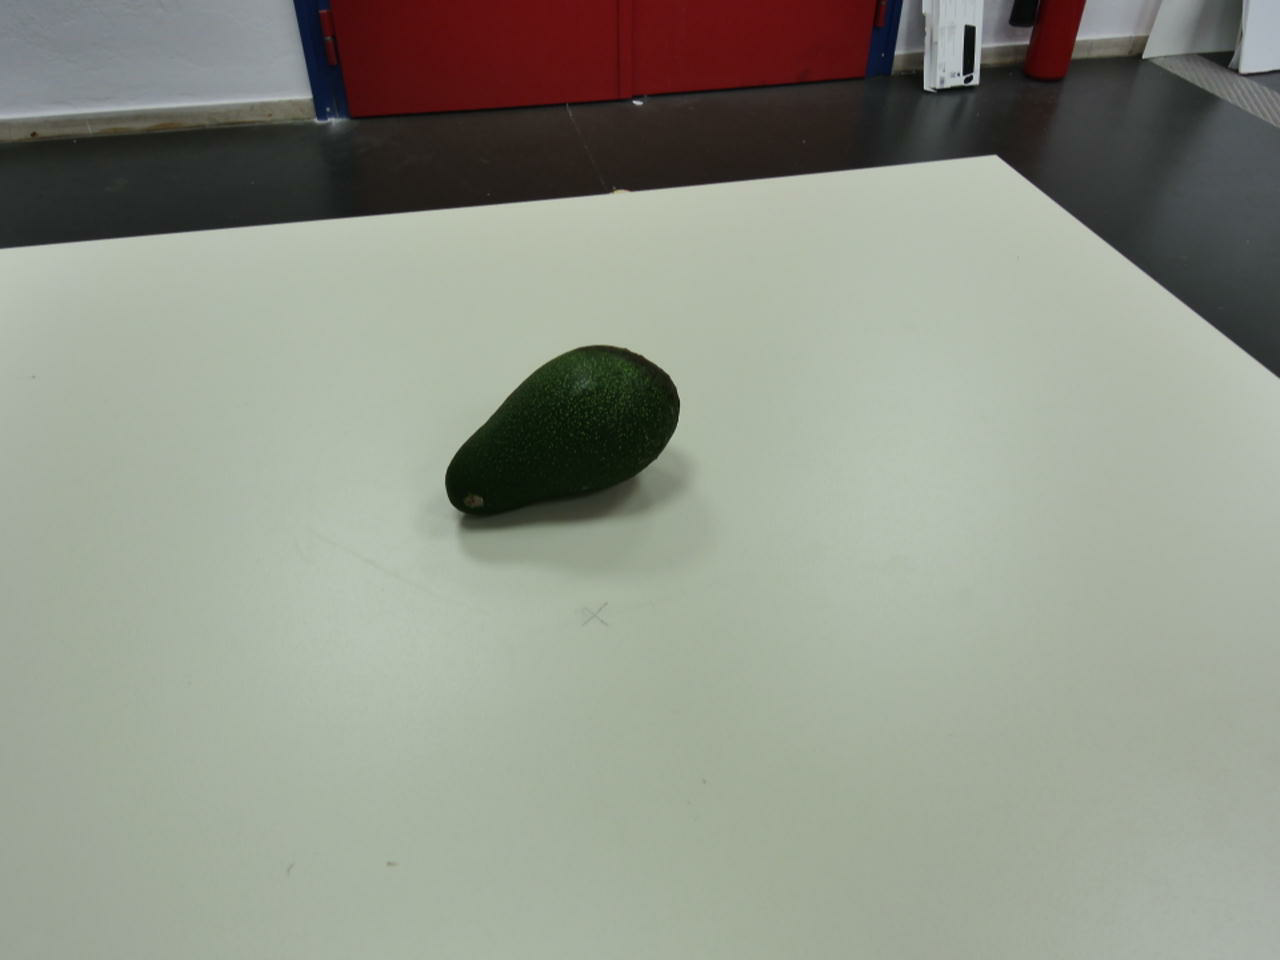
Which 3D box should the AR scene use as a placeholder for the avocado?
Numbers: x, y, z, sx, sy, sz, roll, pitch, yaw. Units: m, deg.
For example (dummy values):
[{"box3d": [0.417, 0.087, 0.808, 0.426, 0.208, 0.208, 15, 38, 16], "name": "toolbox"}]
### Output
[{"box3d": [-0.040, -0.030, 0.517, 0.123, 0.076, 0.074, -4, 39, -5], "name": "avocado"}]
